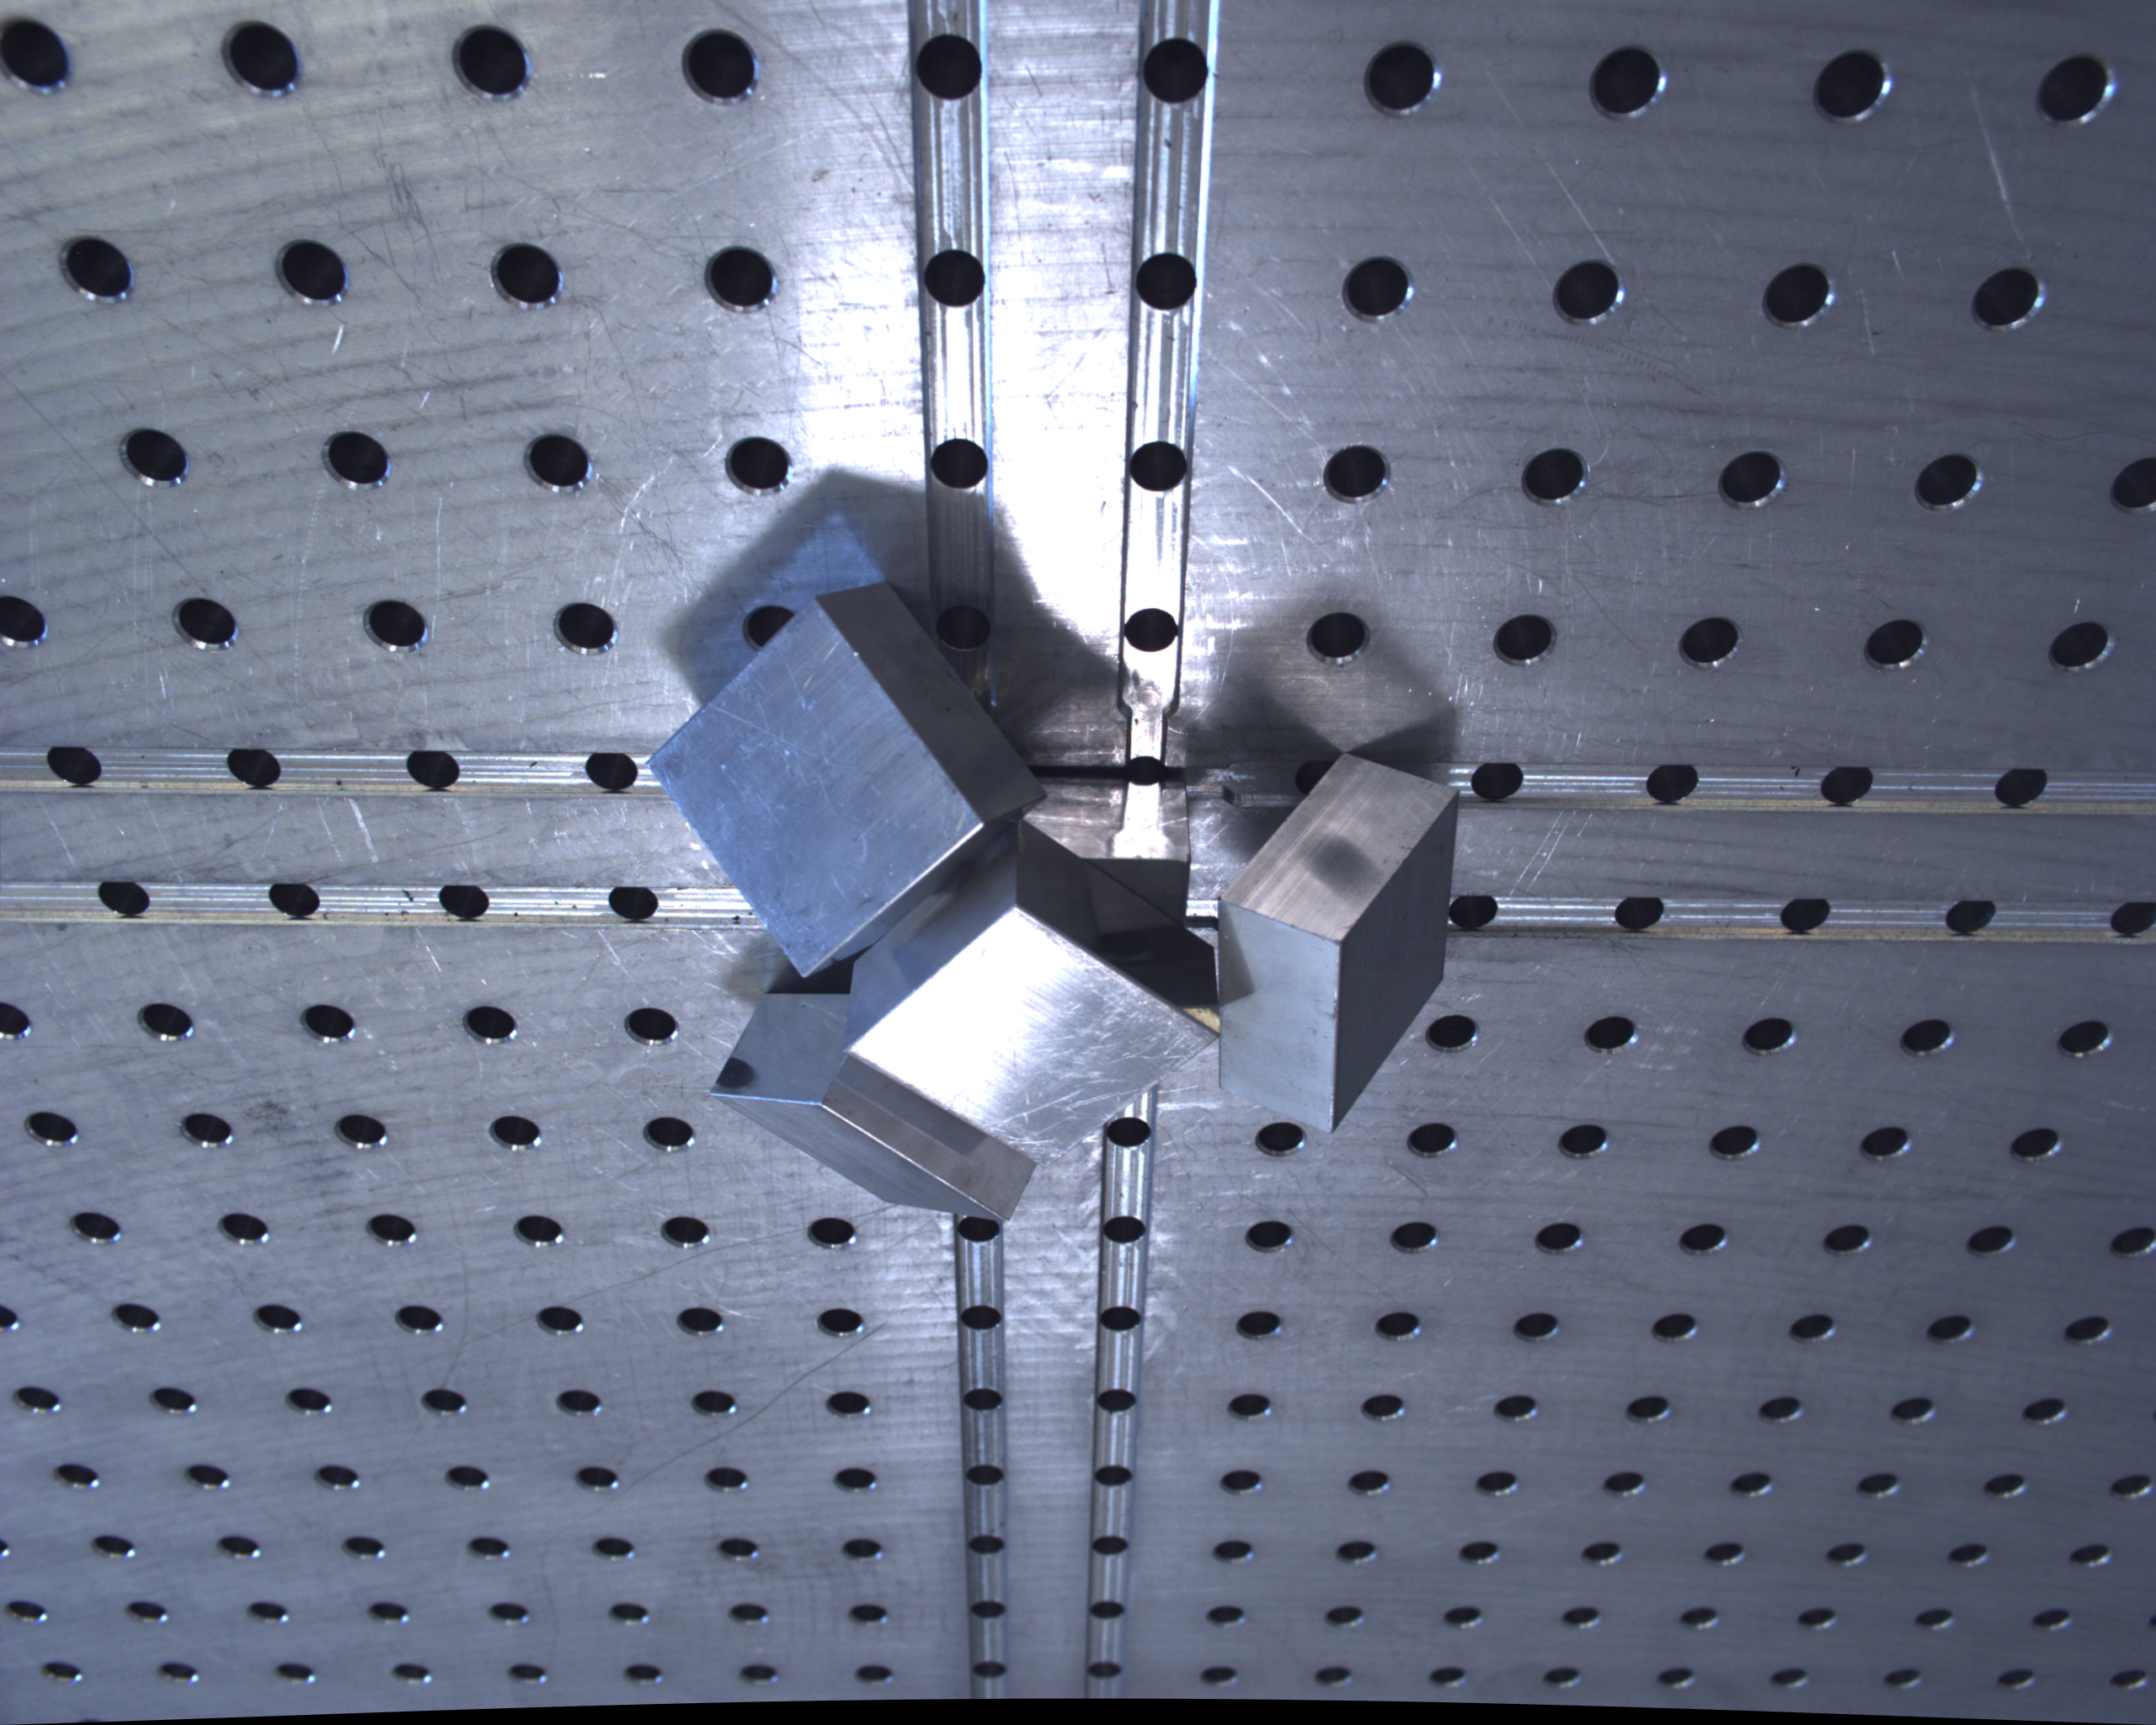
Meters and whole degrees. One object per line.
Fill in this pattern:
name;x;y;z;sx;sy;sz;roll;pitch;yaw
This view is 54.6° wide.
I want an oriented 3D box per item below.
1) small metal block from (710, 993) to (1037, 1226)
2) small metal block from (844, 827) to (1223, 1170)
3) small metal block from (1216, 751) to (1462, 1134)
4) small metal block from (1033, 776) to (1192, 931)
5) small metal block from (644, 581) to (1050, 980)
small metal block;-0.041;0.051;0.438;0.050;0.025;0.050;37;158;-27
small metal block;-0.009;0.026;0.400;0.050;0.025;0.050;33;122;-26
small metal block;0.050;0.015;0.404;0.025;0.050;0.050;21;136;26
small metal block;-0.004;0.010;0.420;0.050;0.025;0.050;1;133;-1
small metal block;-0.042;-0.015;0.382;0.050;0.025;0.050;-39;85;28
